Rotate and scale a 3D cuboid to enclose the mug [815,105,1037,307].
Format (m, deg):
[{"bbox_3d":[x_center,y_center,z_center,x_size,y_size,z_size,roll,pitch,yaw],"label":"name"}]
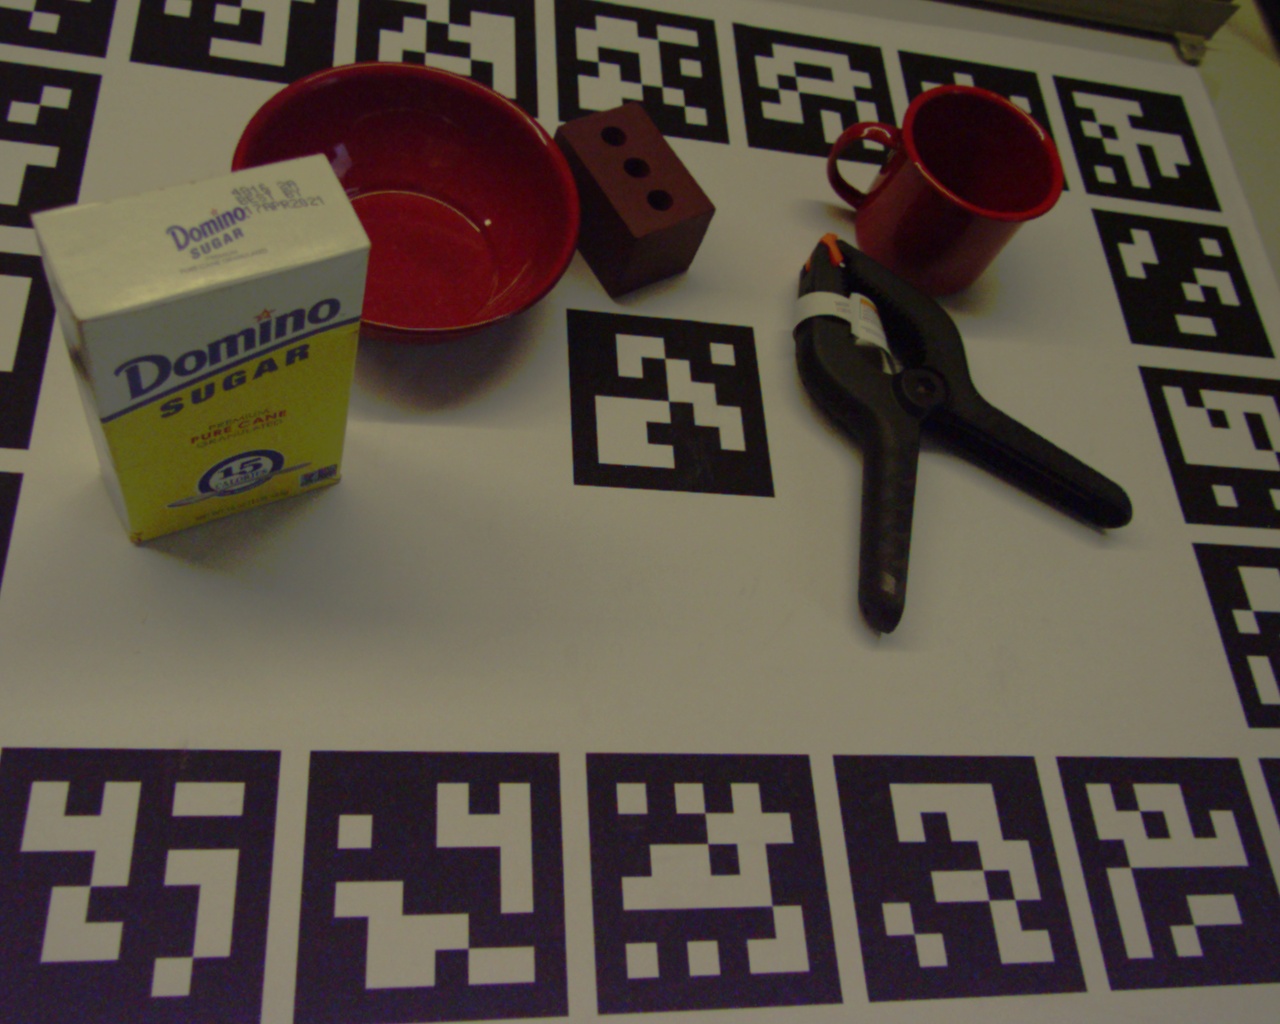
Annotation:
[{"bbox_3d":[0.155,-0.178,0.661,0.117,0.082,0.093,28,61,-5],"label":"mug"}]

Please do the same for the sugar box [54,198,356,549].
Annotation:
[{"bbox_3d":[-0.169,-0.047,0.459,0.092,0.177,0.045,-21,76,-25],"label":"sugar box"}]

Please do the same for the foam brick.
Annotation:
[{"bbox_3d":[-0.013,-0.155,0.630,0.052,0.051,0.078,-24,75,-23],"label":"foam brick"}]

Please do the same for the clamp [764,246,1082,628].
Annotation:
[{"bbox_3d":[0.126,-0.056,0.616,0.164,0.037,0.204,-20,73,-21],"label":"clamp"}]

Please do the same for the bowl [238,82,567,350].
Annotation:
[{"bbox_3d":[-0.121,-0.140,0.584,0.160,0.055,0.162,6,64,-14],"label":"bowl"}]
